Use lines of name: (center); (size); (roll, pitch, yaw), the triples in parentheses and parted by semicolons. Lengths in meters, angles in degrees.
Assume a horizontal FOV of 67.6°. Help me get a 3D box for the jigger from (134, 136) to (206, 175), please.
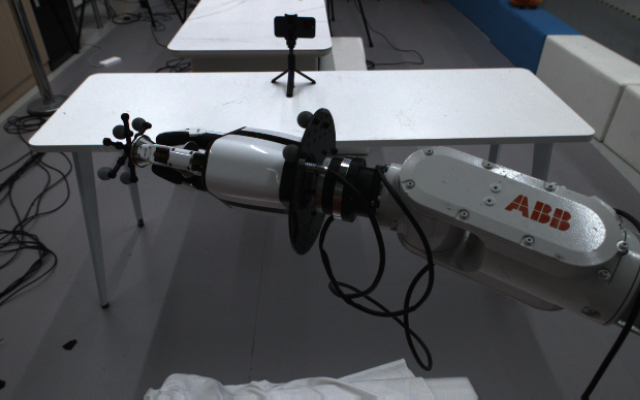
jigger: (-0.177, -0.055, 0.572); (0.071, 0.043, 0.043); (10, 35, 16)
